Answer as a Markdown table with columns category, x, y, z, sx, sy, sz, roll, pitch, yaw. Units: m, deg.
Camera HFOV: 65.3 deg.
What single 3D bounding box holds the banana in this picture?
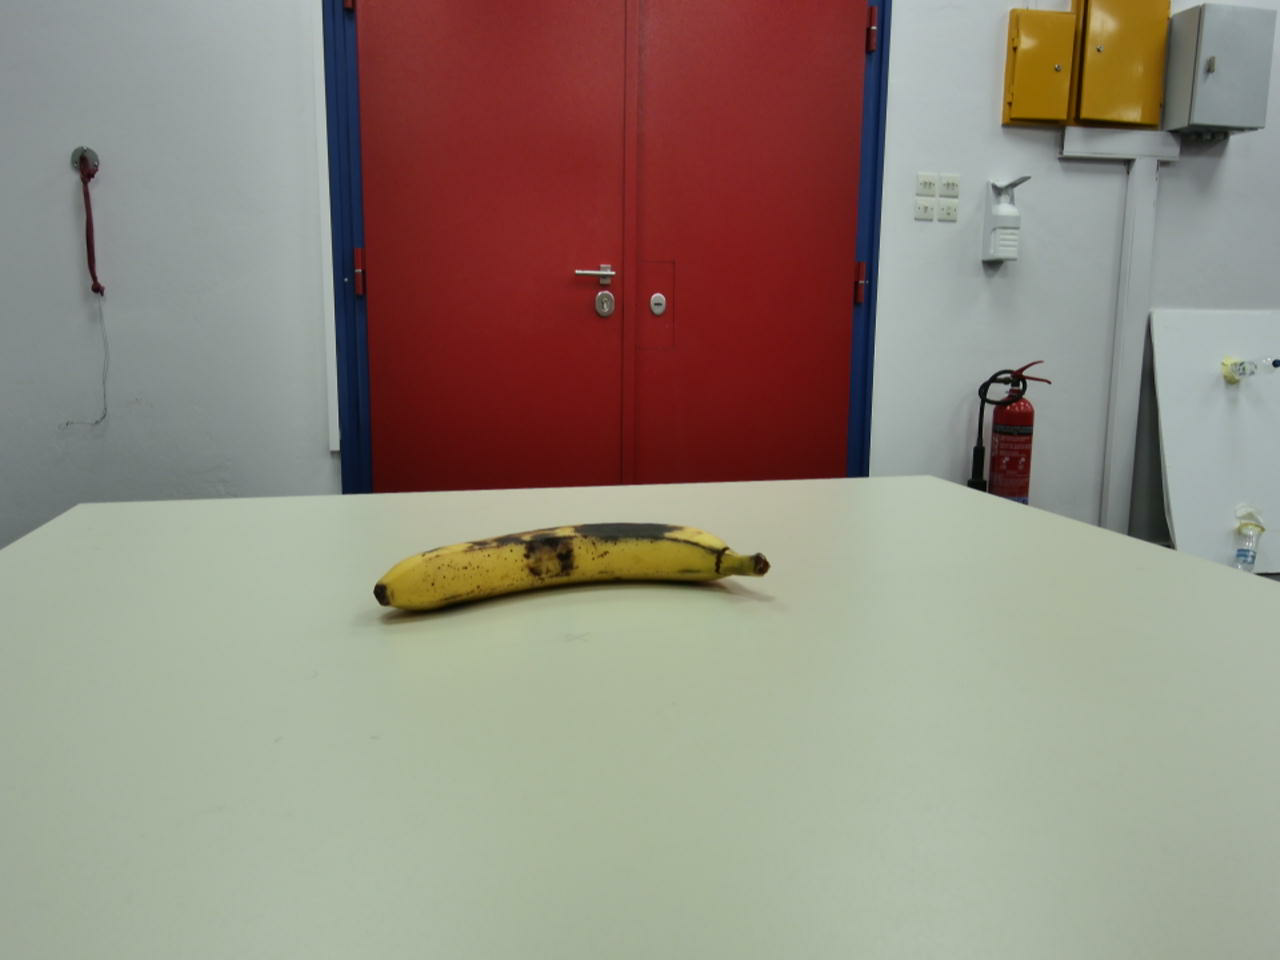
| category | x | y | z | sx | sy | sz | roll | pitch | yaw |
| --- | --- | --- | --- | --- | --- | --- | --- | --- | --- |
| banana | -0.040 | 0.049 | 0.591 | 0.222 | 0.037 | 0.084 | -1 | 8 | -12 |
